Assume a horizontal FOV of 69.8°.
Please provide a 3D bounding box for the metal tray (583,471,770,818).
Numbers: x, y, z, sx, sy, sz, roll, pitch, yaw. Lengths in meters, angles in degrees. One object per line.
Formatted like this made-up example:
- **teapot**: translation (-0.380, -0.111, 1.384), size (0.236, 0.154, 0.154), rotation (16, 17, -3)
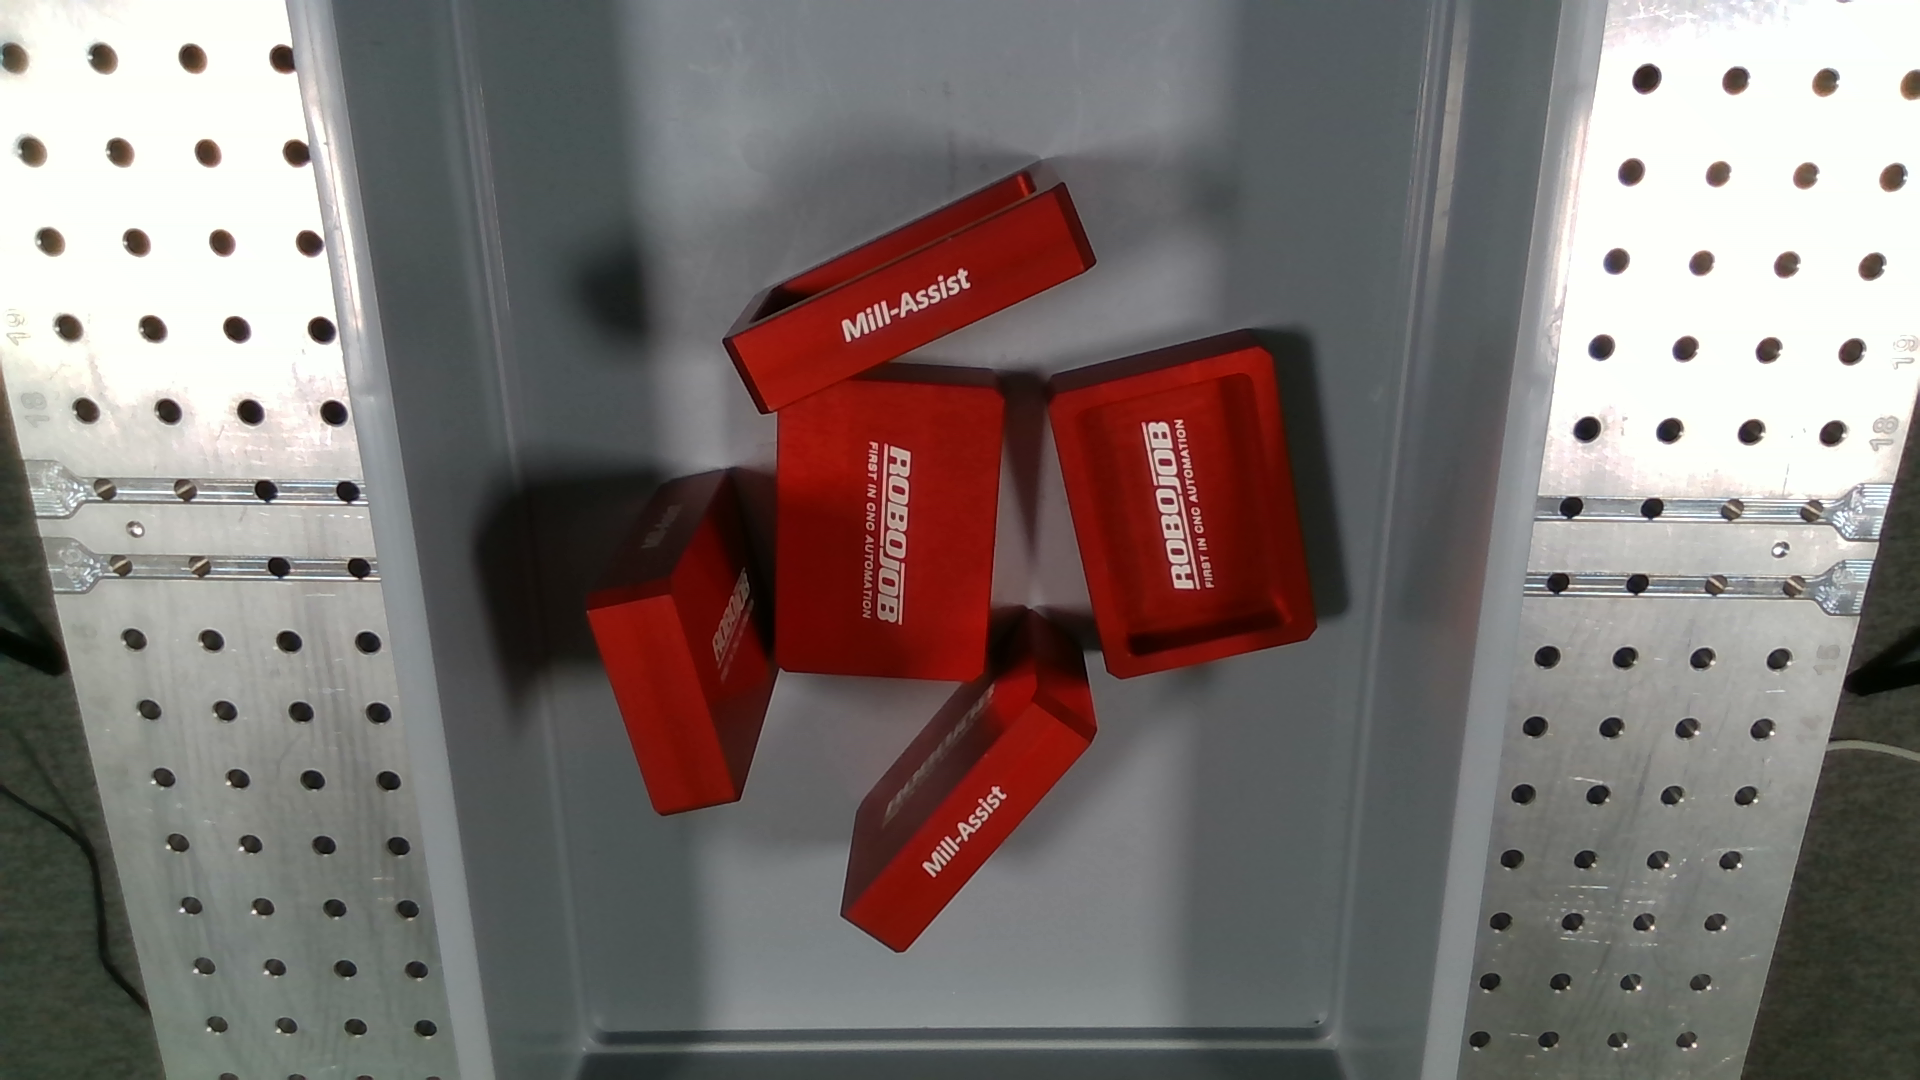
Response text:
- **metal tray**: translation (-0.104, 0.036, 0.539), size (0.030, 0.130, 0.090), rotation (-12, 110, 5)

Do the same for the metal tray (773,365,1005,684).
- **metal tray**: translation (-0.031, -0.007, 0.577), size (0.090, 0.030, 0.130), rotation (3, 110, -1)

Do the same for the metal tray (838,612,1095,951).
- **metal tray**: translation (0.002, 0.100, 0.585), size (0.030, 0.090, 0.130), rotation (36, 106, -11)

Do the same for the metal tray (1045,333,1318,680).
- **metal tray**: translation (0.093, -0.013, 0.575), size (0.090, 0.030, 0.130), rotation (-13, 110, 5)

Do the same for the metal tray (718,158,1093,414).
- **metal tray**: translation (-0.020, -0.097, 0.512), size (0.130, 0.090, 0.030), rotation (-23, 109, 9)
